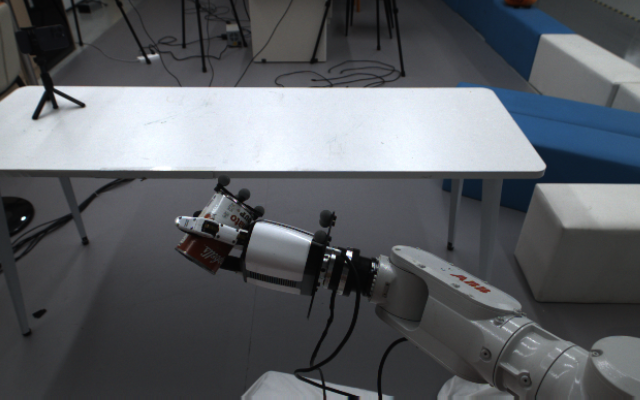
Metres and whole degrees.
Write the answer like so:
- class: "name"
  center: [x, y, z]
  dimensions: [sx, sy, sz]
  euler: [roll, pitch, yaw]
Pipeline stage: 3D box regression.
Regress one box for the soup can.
- class: "soup can"
  center: [-0.149, 0.048, 0.692]
  dimensions: [0.067, 0.067, 0.101]
  euler: [24, 71, 28]
